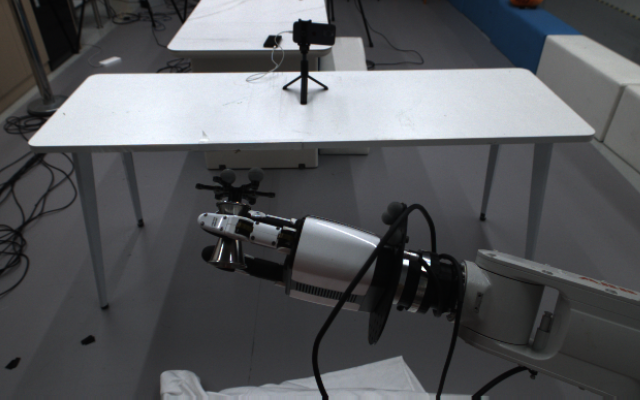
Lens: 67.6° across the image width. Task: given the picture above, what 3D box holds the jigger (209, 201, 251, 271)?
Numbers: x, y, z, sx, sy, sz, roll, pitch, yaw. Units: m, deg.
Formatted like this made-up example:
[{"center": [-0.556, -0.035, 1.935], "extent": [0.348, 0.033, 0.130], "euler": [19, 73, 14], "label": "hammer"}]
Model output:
[{"center": [-0.099, 0.038, 0.538], "extent": [0.043, 0.043, 0.071], "euler": [3, 75, 2], "label": "jigger"}]
